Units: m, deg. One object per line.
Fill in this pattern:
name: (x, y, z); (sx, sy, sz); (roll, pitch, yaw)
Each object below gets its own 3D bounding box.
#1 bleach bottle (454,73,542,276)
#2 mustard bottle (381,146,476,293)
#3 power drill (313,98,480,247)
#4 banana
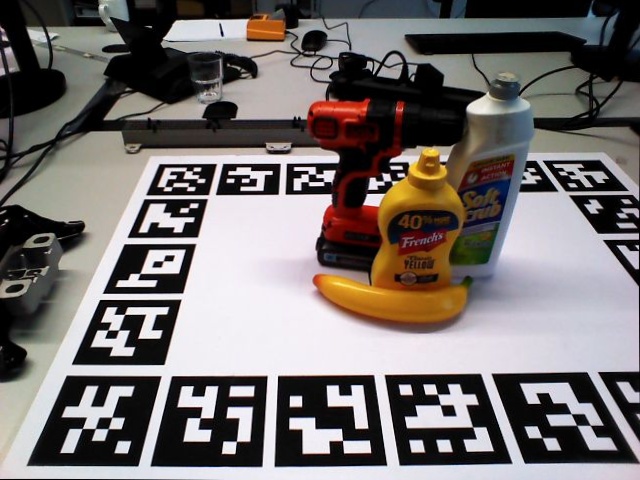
bleach bottle: (0.193, -0.075, 0.610); (0.103, 0.251, 0.067); (1, 34, 2)
mustard bottle: (0.124, -0.019, 0.580); (0.096, 0.192, 0.058); (0, 40, -1)
power drill: (0.082, -0.079, 0.622); (0.185, 0.188, 0.057); (8, 39, 8)
banana: (0.104, 0.067, 0.612); (0.198, 0.039, 0.074); (1, 40, 5)
